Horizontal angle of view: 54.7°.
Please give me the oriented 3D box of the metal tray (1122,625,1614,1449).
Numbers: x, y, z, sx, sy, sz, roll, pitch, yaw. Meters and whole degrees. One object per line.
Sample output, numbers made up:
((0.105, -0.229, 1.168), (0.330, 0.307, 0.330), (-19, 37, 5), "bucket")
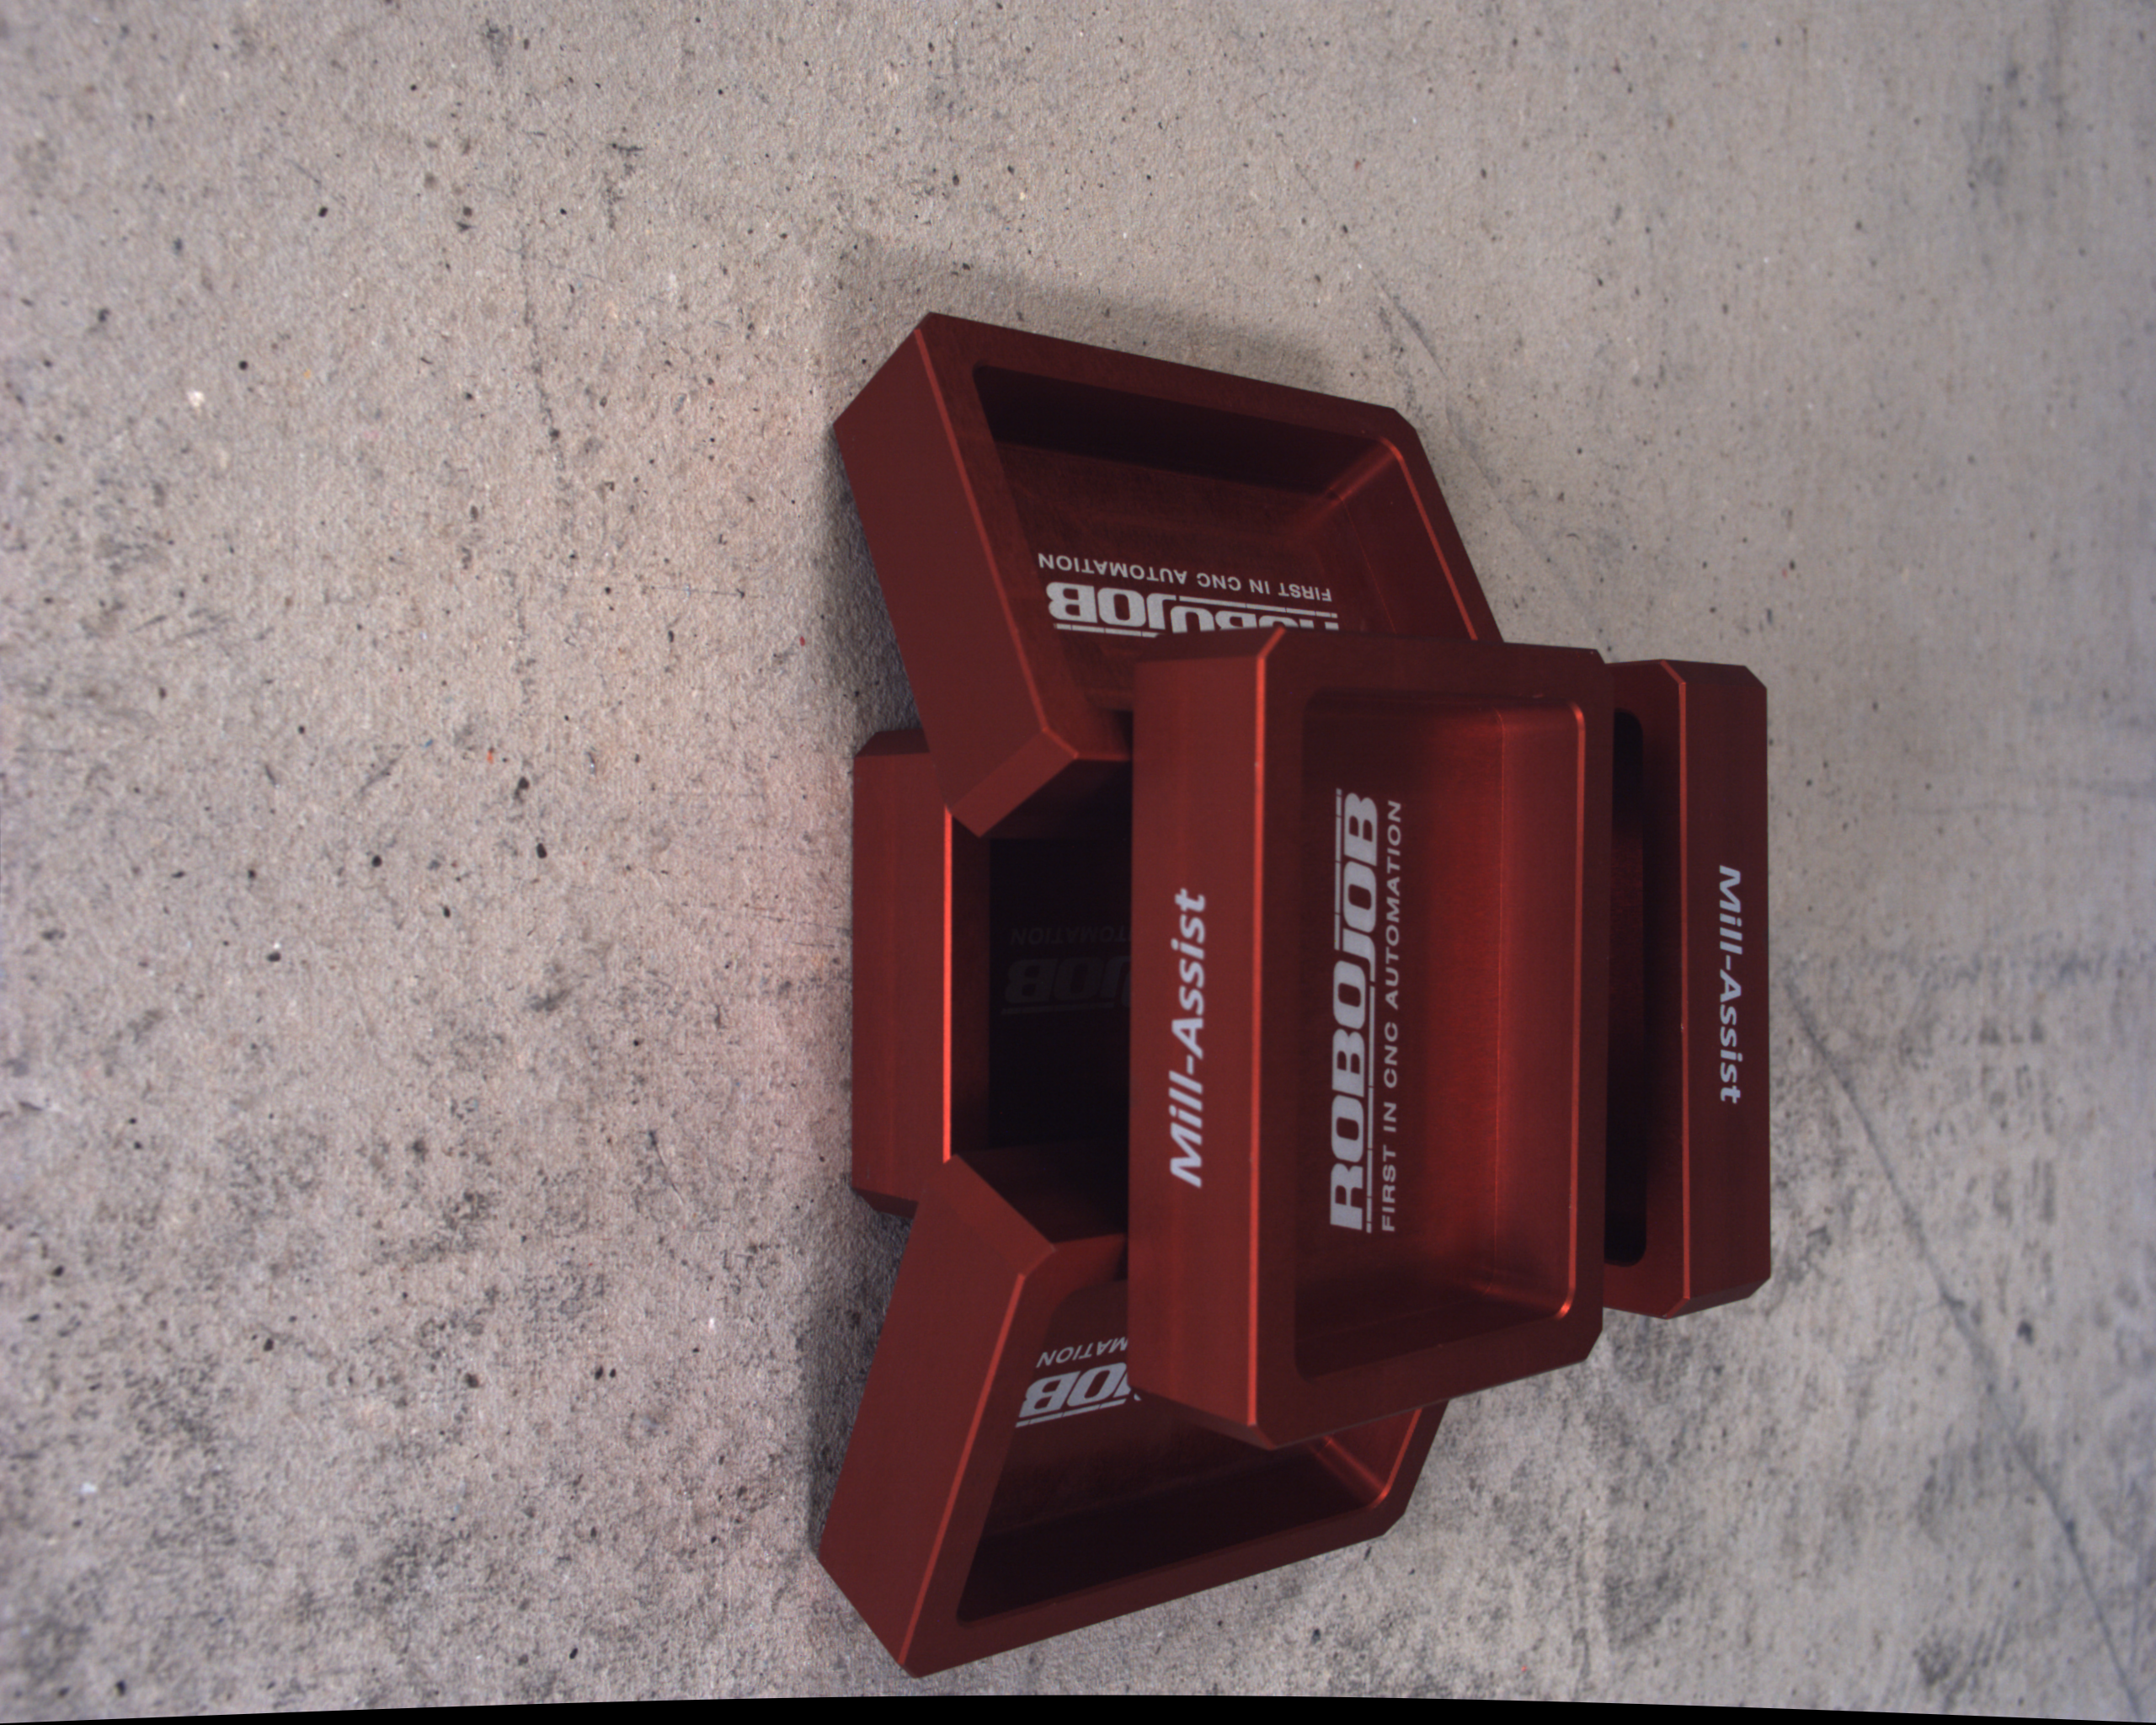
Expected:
((0.052, 0.026, 0.362), (0.091, 0.030, 0.129), (-1, 93, -40), "metal tray")

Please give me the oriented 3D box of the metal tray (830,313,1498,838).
((0.025, -0.051, 0.400), (0.131, 0.030, 0.090), (0, 63, -40), "metal tray")

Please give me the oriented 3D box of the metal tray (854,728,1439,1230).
((0.018, 0.019, 0.416), (0.131, 0.030, 0.089), (-1, 92, -40), "metal tray")

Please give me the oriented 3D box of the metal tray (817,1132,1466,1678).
((0.022, 0.096, 0.399), (0.131, 0.030, 0.089), (0, 115, -40), "metal tray")

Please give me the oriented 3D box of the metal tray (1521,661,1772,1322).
((0.101, 0.025, 0.447), (0.030, 0.090, 0.129), (-1, 91, -40), "metal tray")
